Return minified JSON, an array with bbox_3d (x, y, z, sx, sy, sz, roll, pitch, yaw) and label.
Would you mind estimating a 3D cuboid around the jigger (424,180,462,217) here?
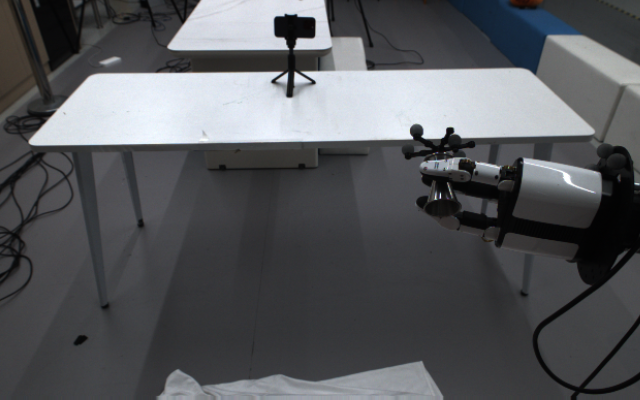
[{"bbox_3d":[0.146,-0.022,0.589,0.043,0.043,0.071,4,61,3],"label":"jigger"}]
